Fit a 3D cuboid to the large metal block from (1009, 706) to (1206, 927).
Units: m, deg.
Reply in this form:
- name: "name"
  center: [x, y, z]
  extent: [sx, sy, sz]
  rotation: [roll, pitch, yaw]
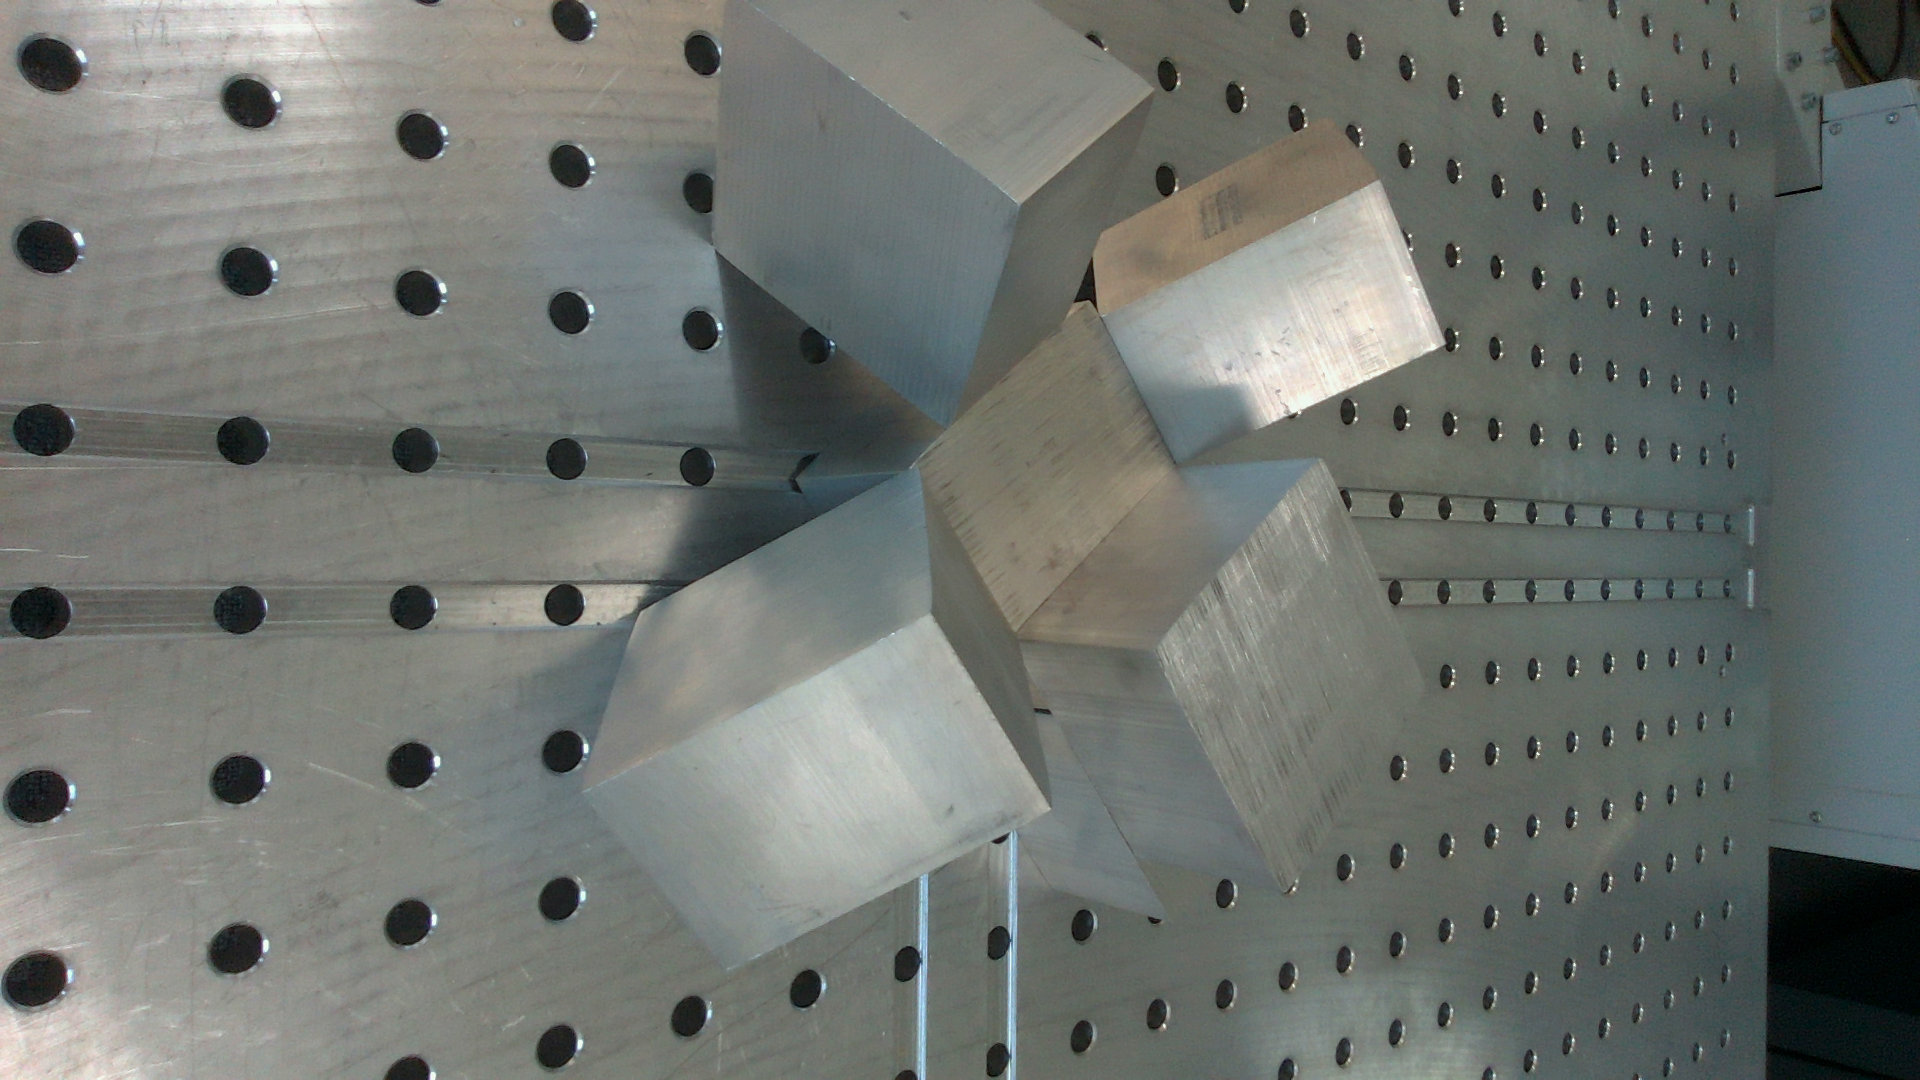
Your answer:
- name: "large metal block"
  center: [0.051, 0.055, 0.417]
  extent: [0.080, 0.050, 0.080]
  rotation: [-45, 116, -32]

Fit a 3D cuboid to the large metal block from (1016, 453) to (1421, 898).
- name: "large metal block"
  center: [0.071, 0.034, 0.368]
  extent: [0.080, 0.050, 0.080]
  rotation: [-45, 118, -32]

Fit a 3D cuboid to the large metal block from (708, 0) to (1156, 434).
- name: "large metal block"
  center: [-0.011, -0.086, 0.326]
  extent: [0.080, 0.080, 0.050]
  rotation: [39, 59, 11]

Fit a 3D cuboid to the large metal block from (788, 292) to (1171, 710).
- name: "large metal block"
  center: [0.013, -0.011, 0.386]
  extent: [0.080, 0.050, 0.080]
  rotation: [-46, 117, -30]

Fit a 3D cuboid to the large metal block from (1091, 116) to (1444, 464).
- name: "large metal block"
  center: [0.086, -0.076, 0.407]
  extent: [0.050, 0.080, 0.080]
  rotation: [59, 17, -23]

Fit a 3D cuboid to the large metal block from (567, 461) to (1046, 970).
- name: "large metal block"
  center: [-0.032, 0.035, 0.309]
  extent: [0.080, 0.080, 0.050]
  rotation: [-28, 113, 8]
